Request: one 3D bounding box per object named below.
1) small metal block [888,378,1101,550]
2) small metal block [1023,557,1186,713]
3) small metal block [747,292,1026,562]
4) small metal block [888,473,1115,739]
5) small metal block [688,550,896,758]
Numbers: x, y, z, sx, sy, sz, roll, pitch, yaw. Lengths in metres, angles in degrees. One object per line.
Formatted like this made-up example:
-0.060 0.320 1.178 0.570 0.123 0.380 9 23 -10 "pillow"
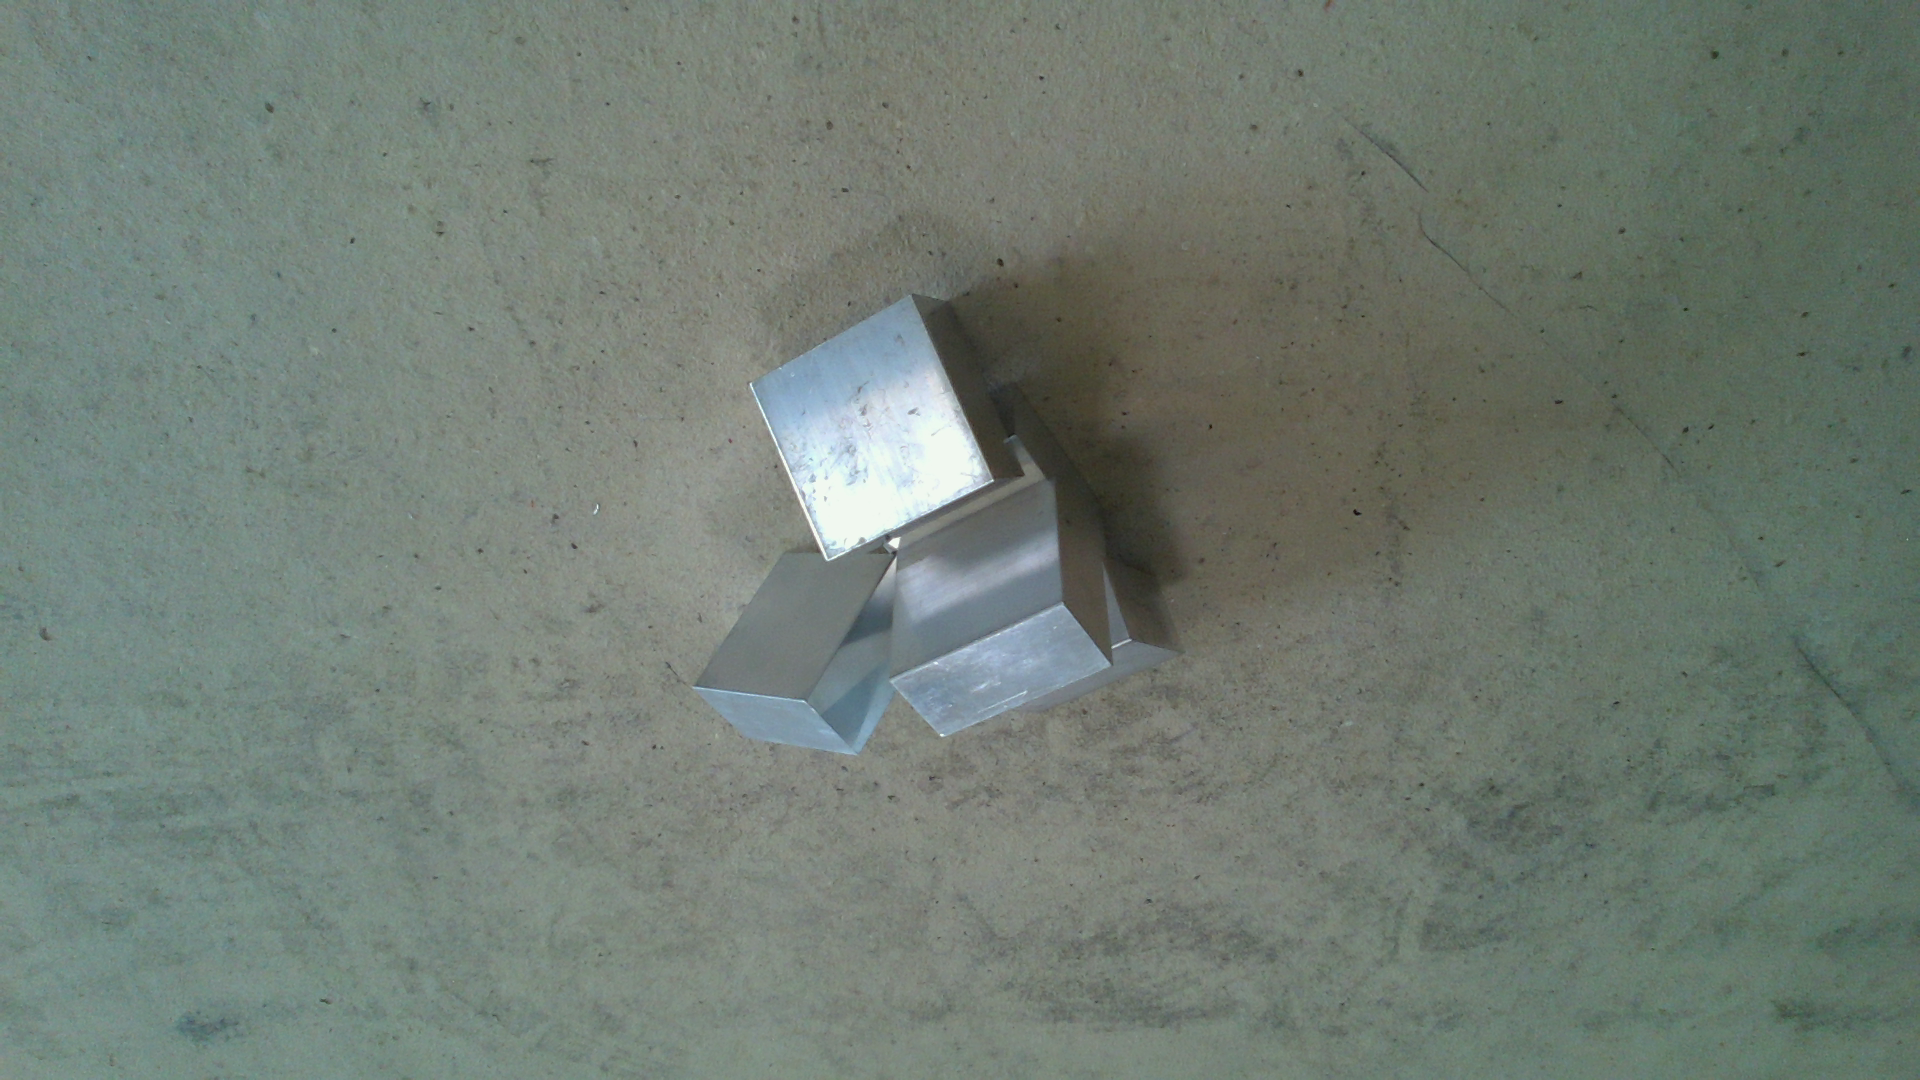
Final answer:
0.006 -0.010 0.384 0.050 0.025 0.050 -24 126 22 "small metal block"
0.031 0.029 0.399 0.050 0.025 0.050 -25 162 20 "small metal block"
-0.019 -0.028 0.351 0.050 0.025 0.050 -25 86 20 "small metal block"
0.010 0.017 0.356 0.050 0.050 0.025 -25 126 20 "small metal block"
-0.041 0.031 0.388 0.050 0.050 0.025 1 140 44 "small metal block"
